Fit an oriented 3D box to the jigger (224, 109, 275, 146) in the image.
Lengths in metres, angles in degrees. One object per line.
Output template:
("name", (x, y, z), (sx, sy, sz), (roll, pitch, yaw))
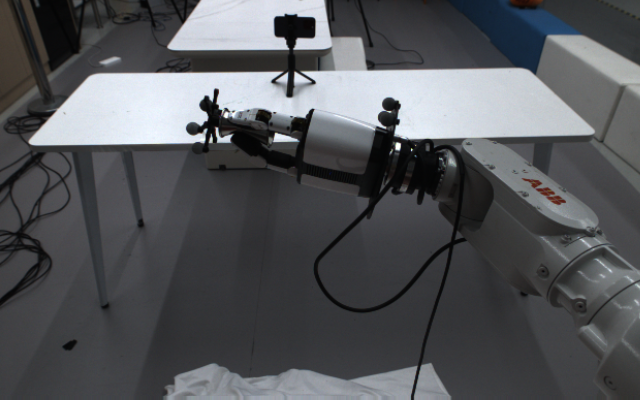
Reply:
("jigger", (-0.090, -0.102, 0.649), (0.071, 0.043, 0.043), (10, 35, 3))
